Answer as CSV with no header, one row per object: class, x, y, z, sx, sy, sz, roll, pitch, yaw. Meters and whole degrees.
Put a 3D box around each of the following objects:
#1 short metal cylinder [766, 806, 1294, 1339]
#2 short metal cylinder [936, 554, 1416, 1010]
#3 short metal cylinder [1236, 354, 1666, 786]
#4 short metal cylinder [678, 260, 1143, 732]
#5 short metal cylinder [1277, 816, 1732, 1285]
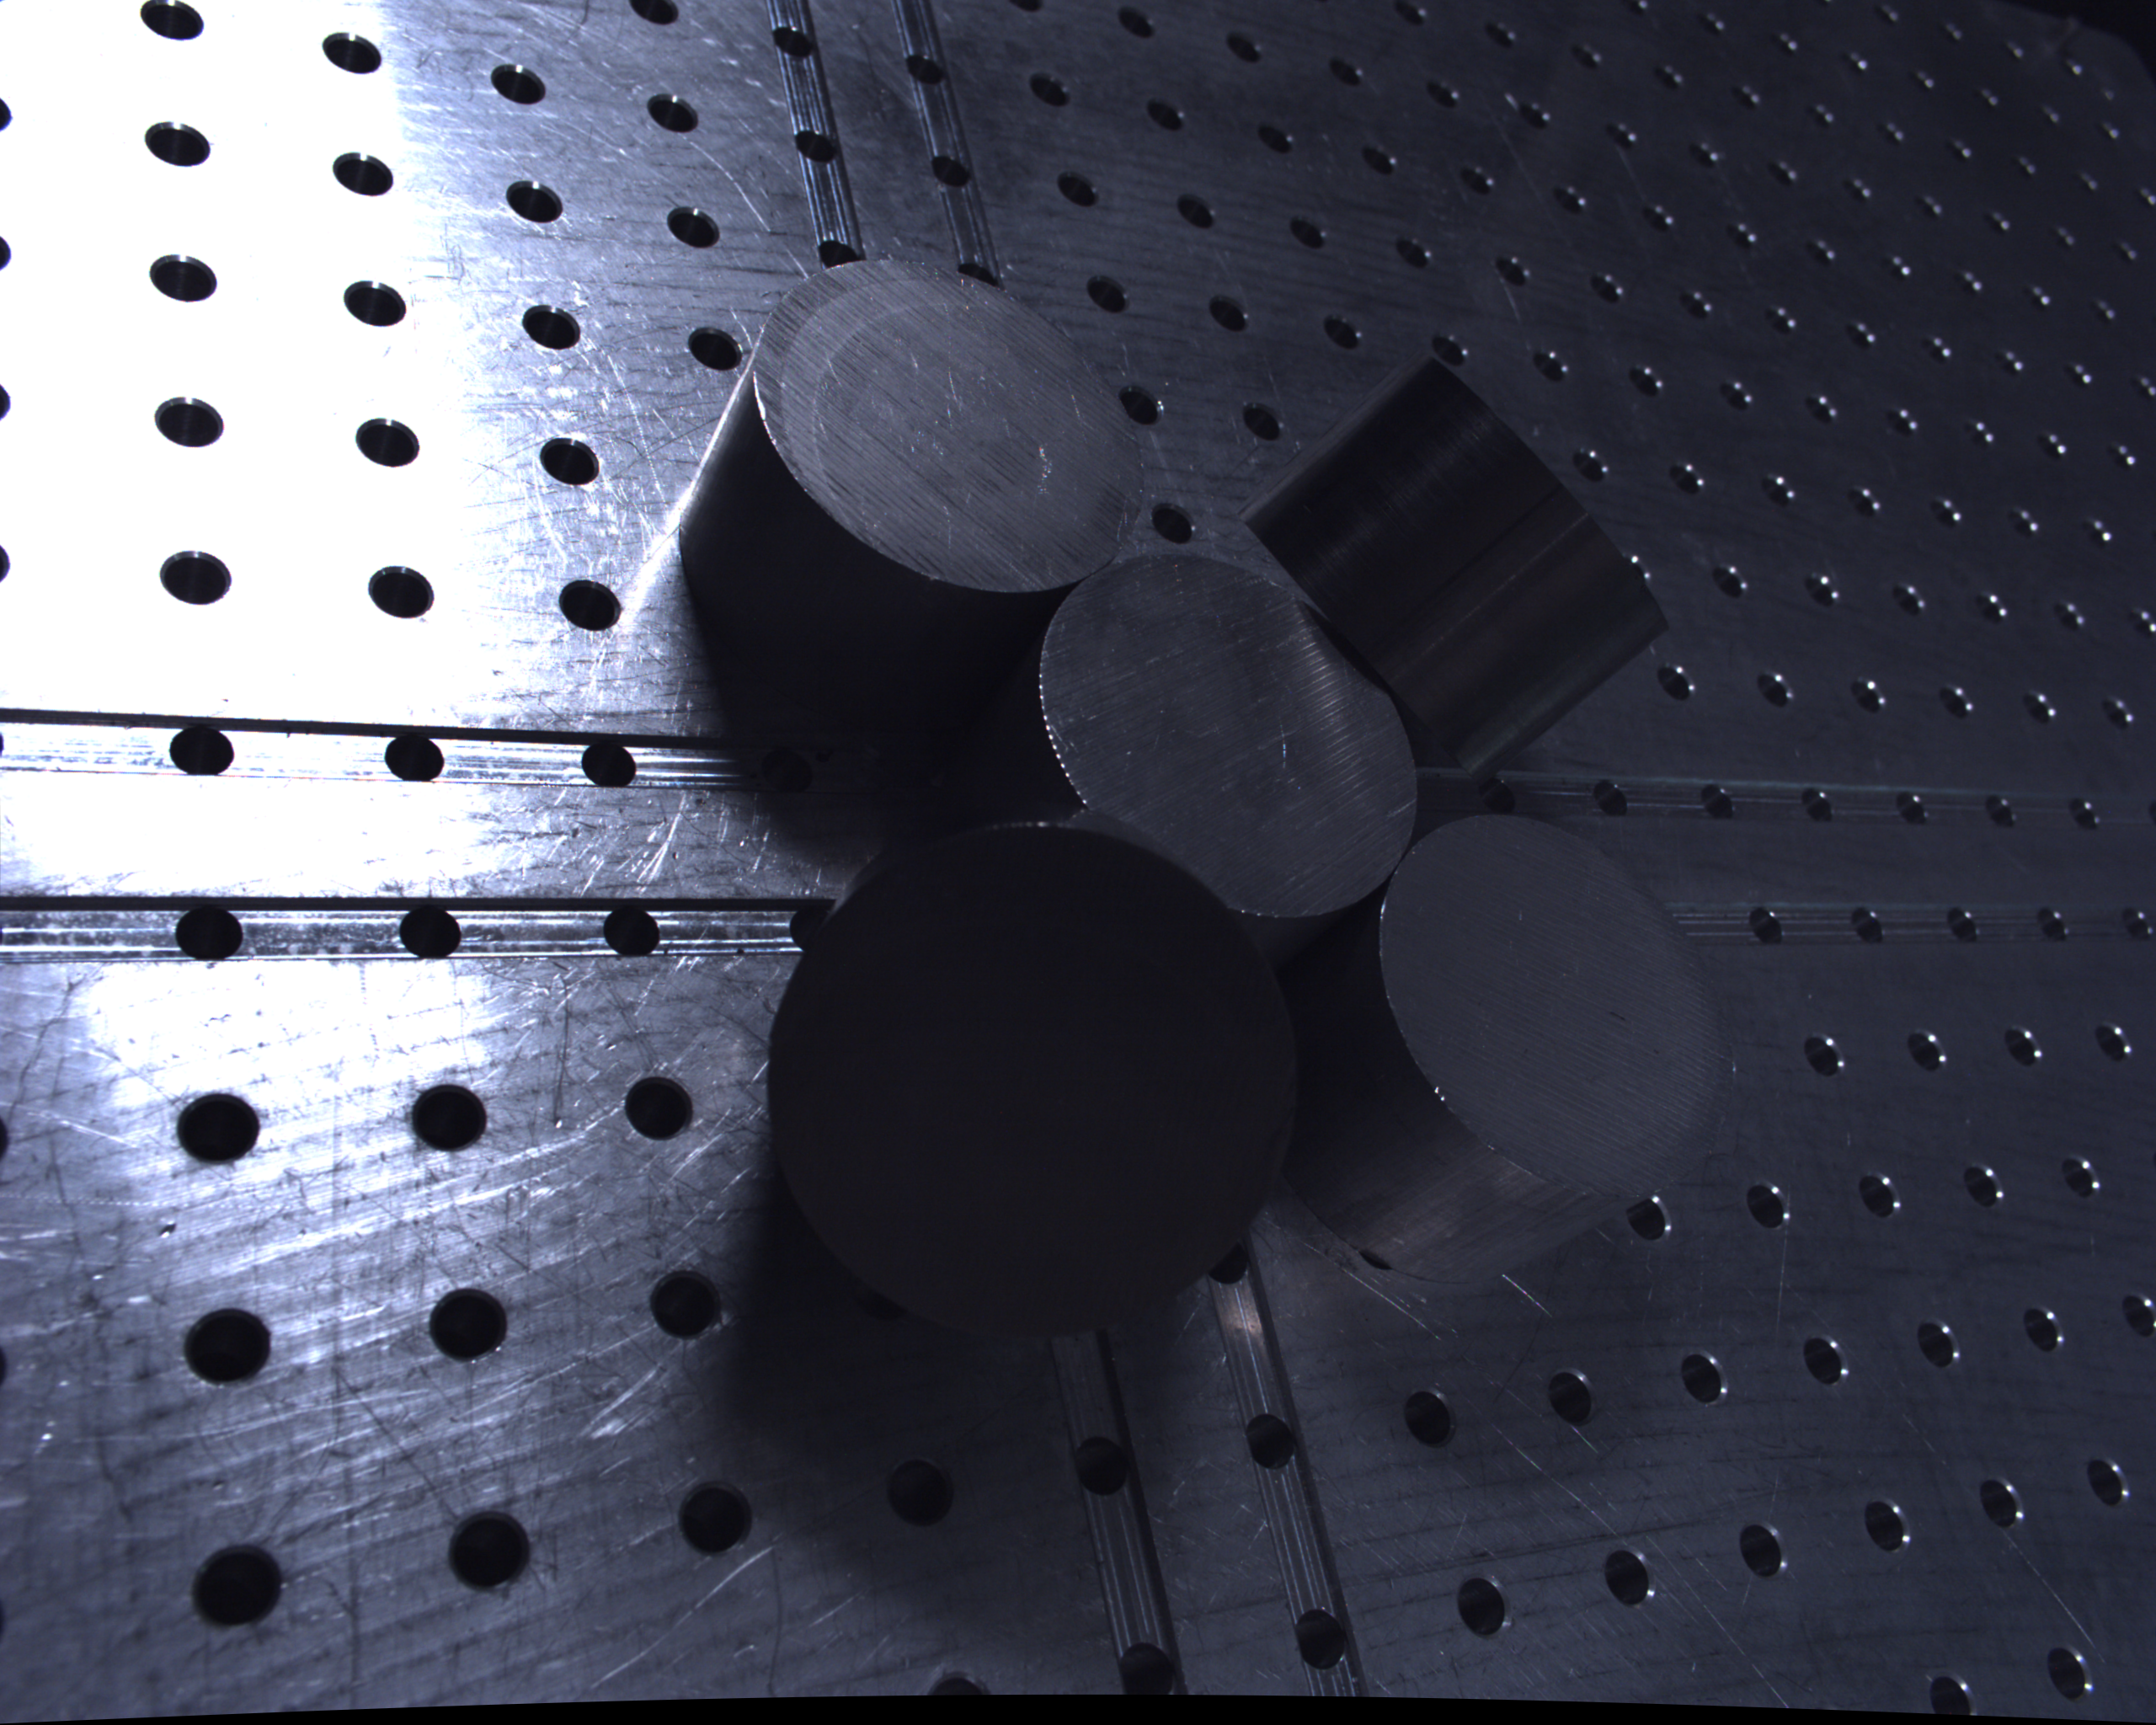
short metal cylinder,-0.008,0.032,0.343,0.081,0.050,0.079,0,95,-3
short metal cylinder,0.019,-0.014,0.412,0.081,0.050,0.080,14,56,-21
short metal cylinder,0.080,-0.063,0.449,0.080,0.050,0.080,47,10,-10
short metal cylinder,-0.034,-0.073,0.419,0.081,0.050,0.080,14,56,-21
short metal cylinder,0.081,0.038,0.414,0.081,0.050,0.080,14,56,-21
